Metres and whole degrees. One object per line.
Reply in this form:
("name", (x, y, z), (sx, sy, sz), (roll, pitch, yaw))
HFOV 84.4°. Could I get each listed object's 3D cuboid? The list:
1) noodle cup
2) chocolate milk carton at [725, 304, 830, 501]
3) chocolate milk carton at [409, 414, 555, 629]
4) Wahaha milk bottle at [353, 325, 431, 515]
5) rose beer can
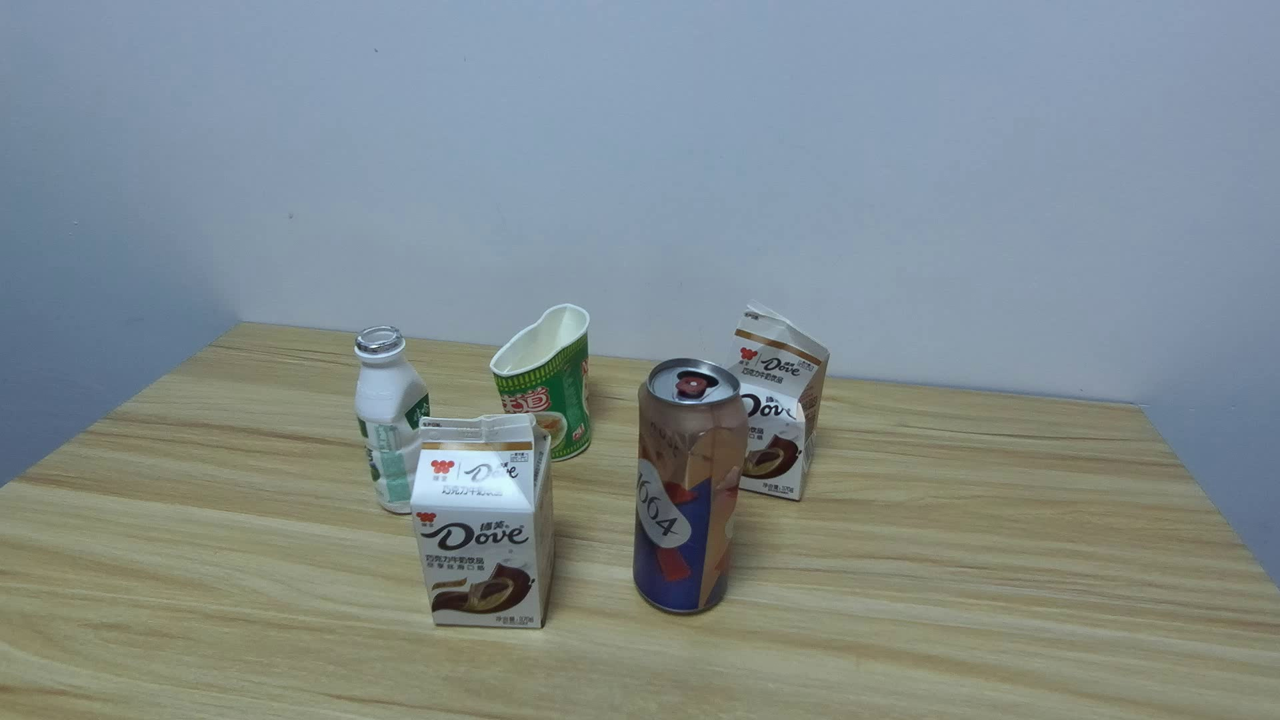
("noodle cup", (-0.080, 0.025, 0.603), (0.070, 0.111, 0.115), (26, 39, 37))
("chocolate milk carton", (0.104, 0.027, 0.555), (0.076, 0.156, 0.074), (11, 35, 16))
("chocolate milk carton", (-0.096, 0.094, 0.450), (0.075, 0.148, 0.074), (2, 31, 0))
("Wahaha milk bottle", (-0.183, 0.044, 0.532), (0.056, 0.148, 0.056), (2, 32, -1))
("rose beer can", (0.032, 0.084, 0.452), (0.065, 0.167, 0.075), (-3, 28, -10))
